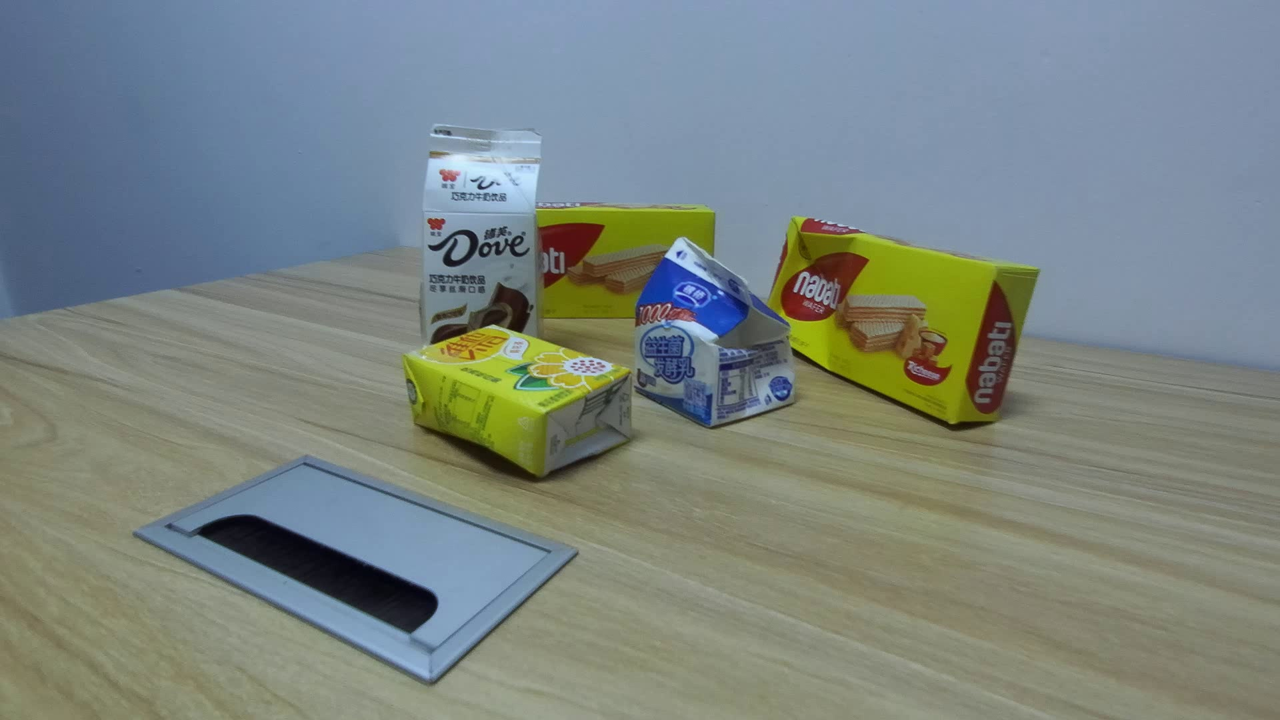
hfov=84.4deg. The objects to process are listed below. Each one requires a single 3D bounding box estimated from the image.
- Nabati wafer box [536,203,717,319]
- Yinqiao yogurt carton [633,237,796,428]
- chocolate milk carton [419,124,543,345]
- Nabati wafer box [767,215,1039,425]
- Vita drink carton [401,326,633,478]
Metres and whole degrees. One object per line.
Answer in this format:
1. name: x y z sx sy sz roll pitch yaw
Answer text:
1. Nabati wafer box: -0.036 -0.082 0.602 0.203 0.093 0.042 1 11 1
2. Yinqiao yogurt carton: 0.043 -0.022 0.423 0.077 0.093 0.082 -13 24 -35
3. chocolate milk carton: -0.104 -0.073 0.464 0.084 0.155 0.073 -1 22 -6
4. Nabati wafer box: 0.154 -0.036 0.474 0.042 0.096 0.202 2 18 -29
5. Vita drink carton: -0.068 0.021 0.374 0.108 0.043 0.077 18 28 35
